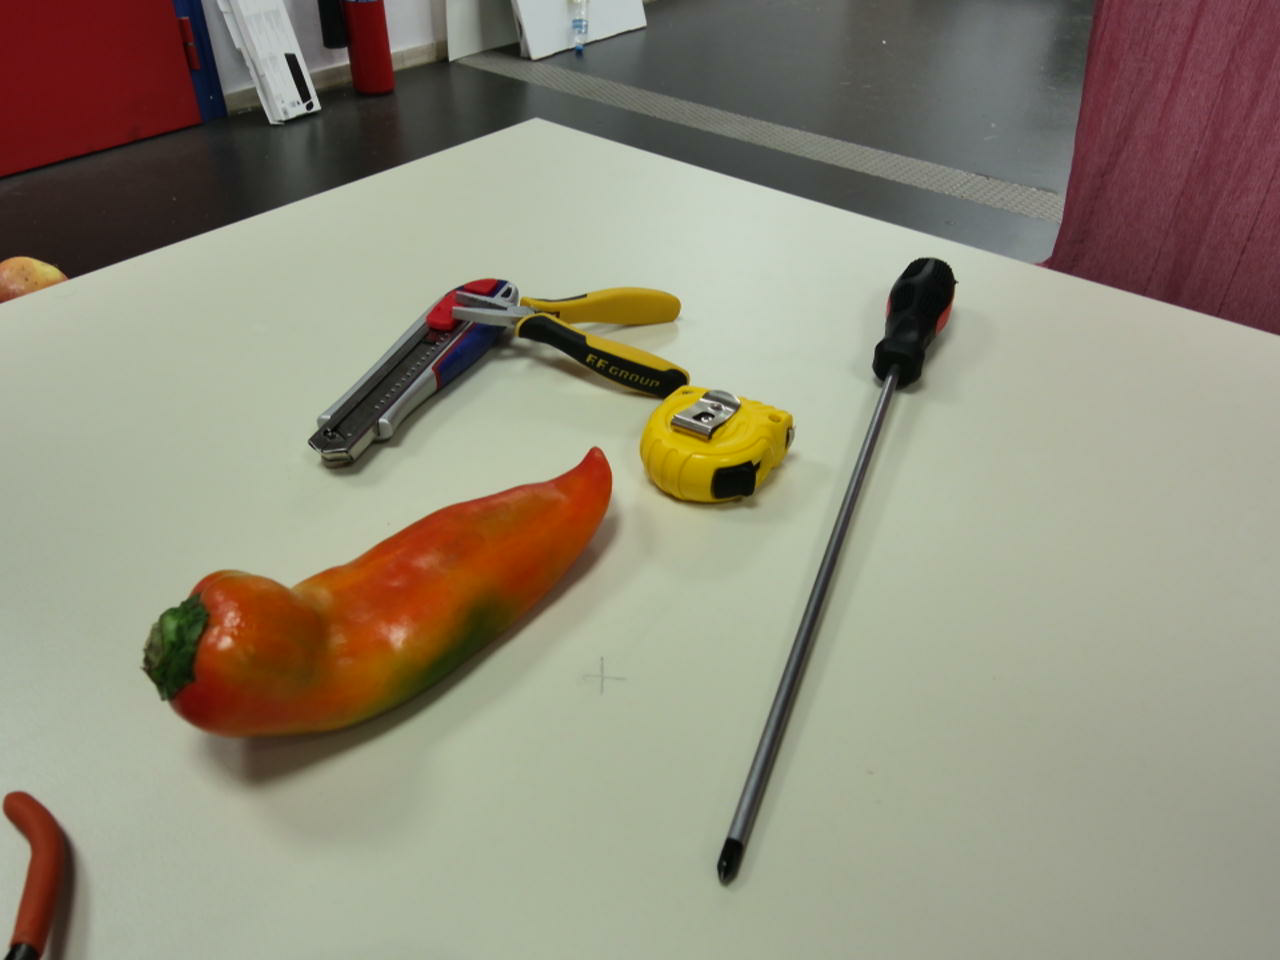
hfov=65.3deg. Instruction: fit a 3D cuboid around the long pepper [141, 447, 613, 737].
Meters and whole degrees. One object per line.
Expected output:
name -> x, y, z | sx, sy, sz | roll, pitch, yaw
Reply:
long pepper -> -0.079, 0.029, 0.368 | 0.066, 0.065, 0.199 | 29, 44, 33
